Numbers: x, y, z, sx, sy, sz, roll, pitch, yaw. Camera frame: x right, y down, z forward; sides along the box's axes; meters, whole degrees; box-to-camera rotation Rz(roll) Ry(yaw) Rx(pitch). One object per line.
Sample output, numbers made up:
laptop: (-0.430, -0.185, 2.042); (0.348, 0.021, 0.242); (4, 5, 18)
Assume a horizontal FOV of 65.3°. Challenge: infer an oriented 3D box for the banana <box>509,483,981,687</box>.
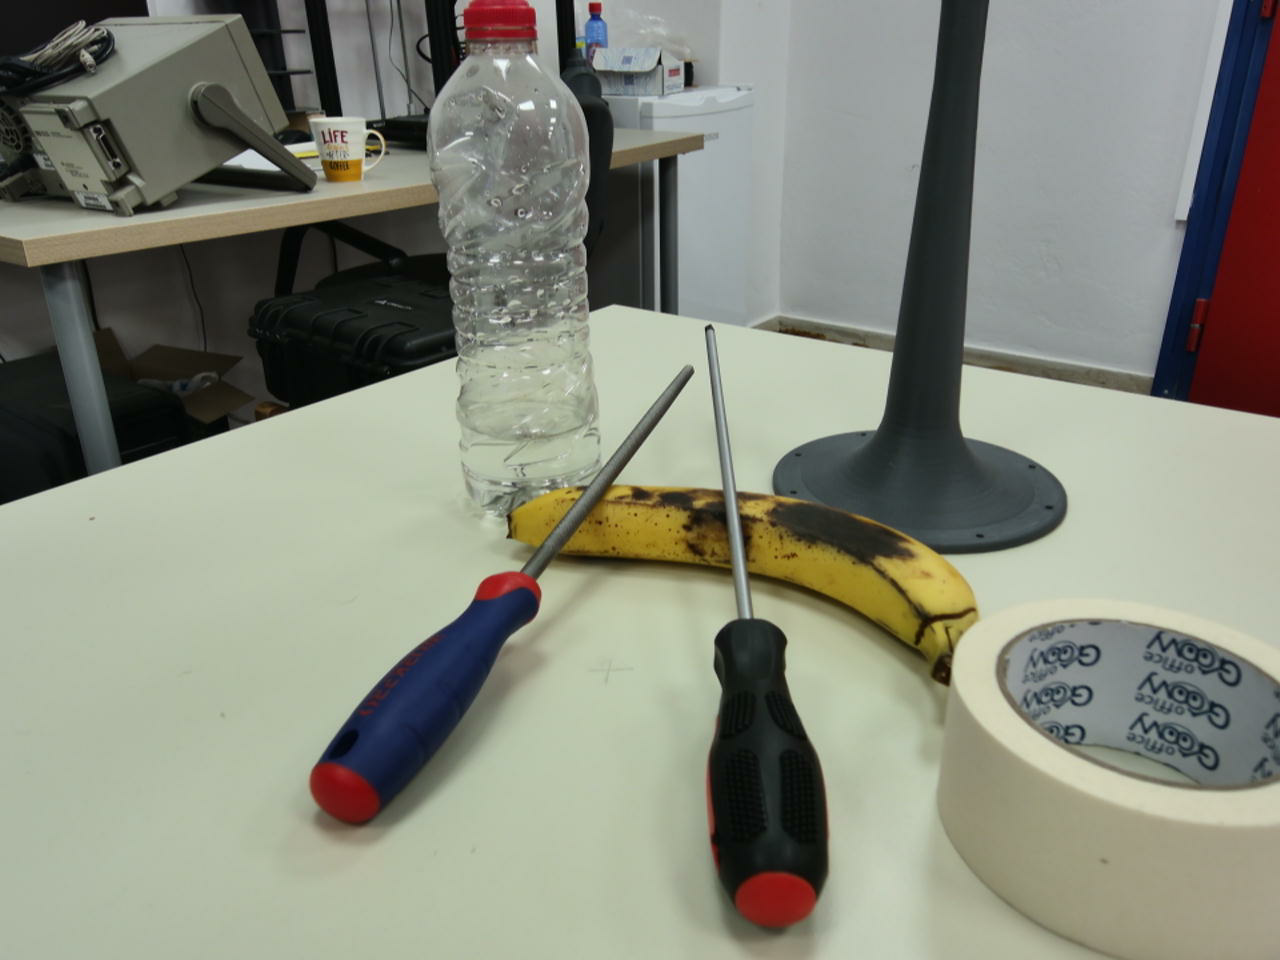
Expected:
banana: (0.047, 0.031, 0.430); (0.222, 0.037, 0.084); (17, 28, 36)
